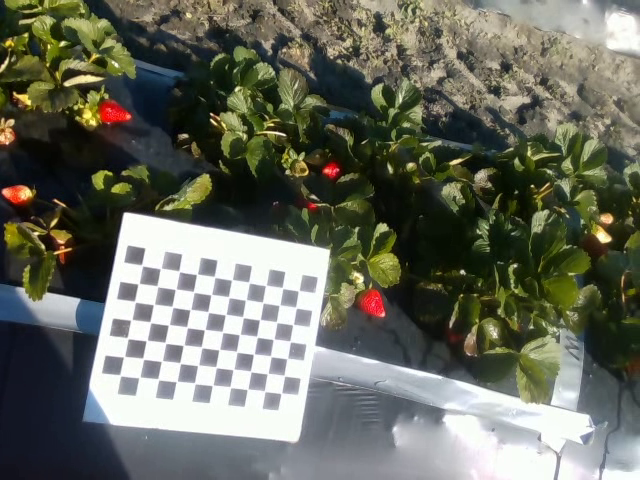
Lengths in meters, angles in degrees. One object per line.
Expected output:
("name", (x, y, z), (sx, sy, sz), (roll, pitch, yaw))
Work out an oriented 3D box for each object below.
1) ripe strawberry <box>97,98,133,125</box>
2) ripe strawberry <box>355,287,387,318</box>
("ripe strawberry", (-0.352, -0.218, 1.031), (0.064, 0.050, 0.052), (16, -7, -3))
("ripe strawberry", (0.083, 0.104, 0.940), (0.048, 0.055, 0.029), (-37, 5, -14))
